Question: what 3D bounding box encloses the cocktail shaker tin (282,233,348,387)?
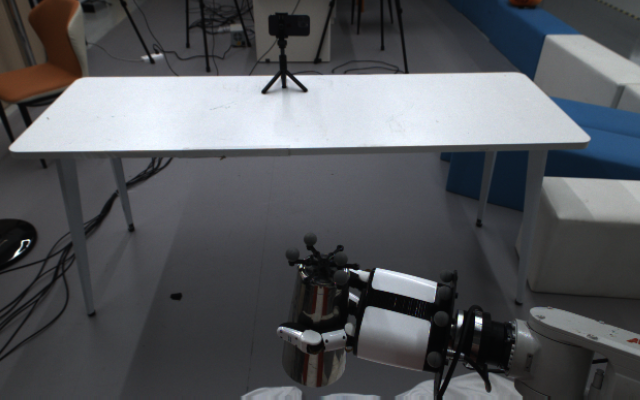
[{"bbox_3d":[-0.001,0.156,0.649,0.093,0.170,0.093,3,32,-2],"label":"cocktail shaker tin"}]
